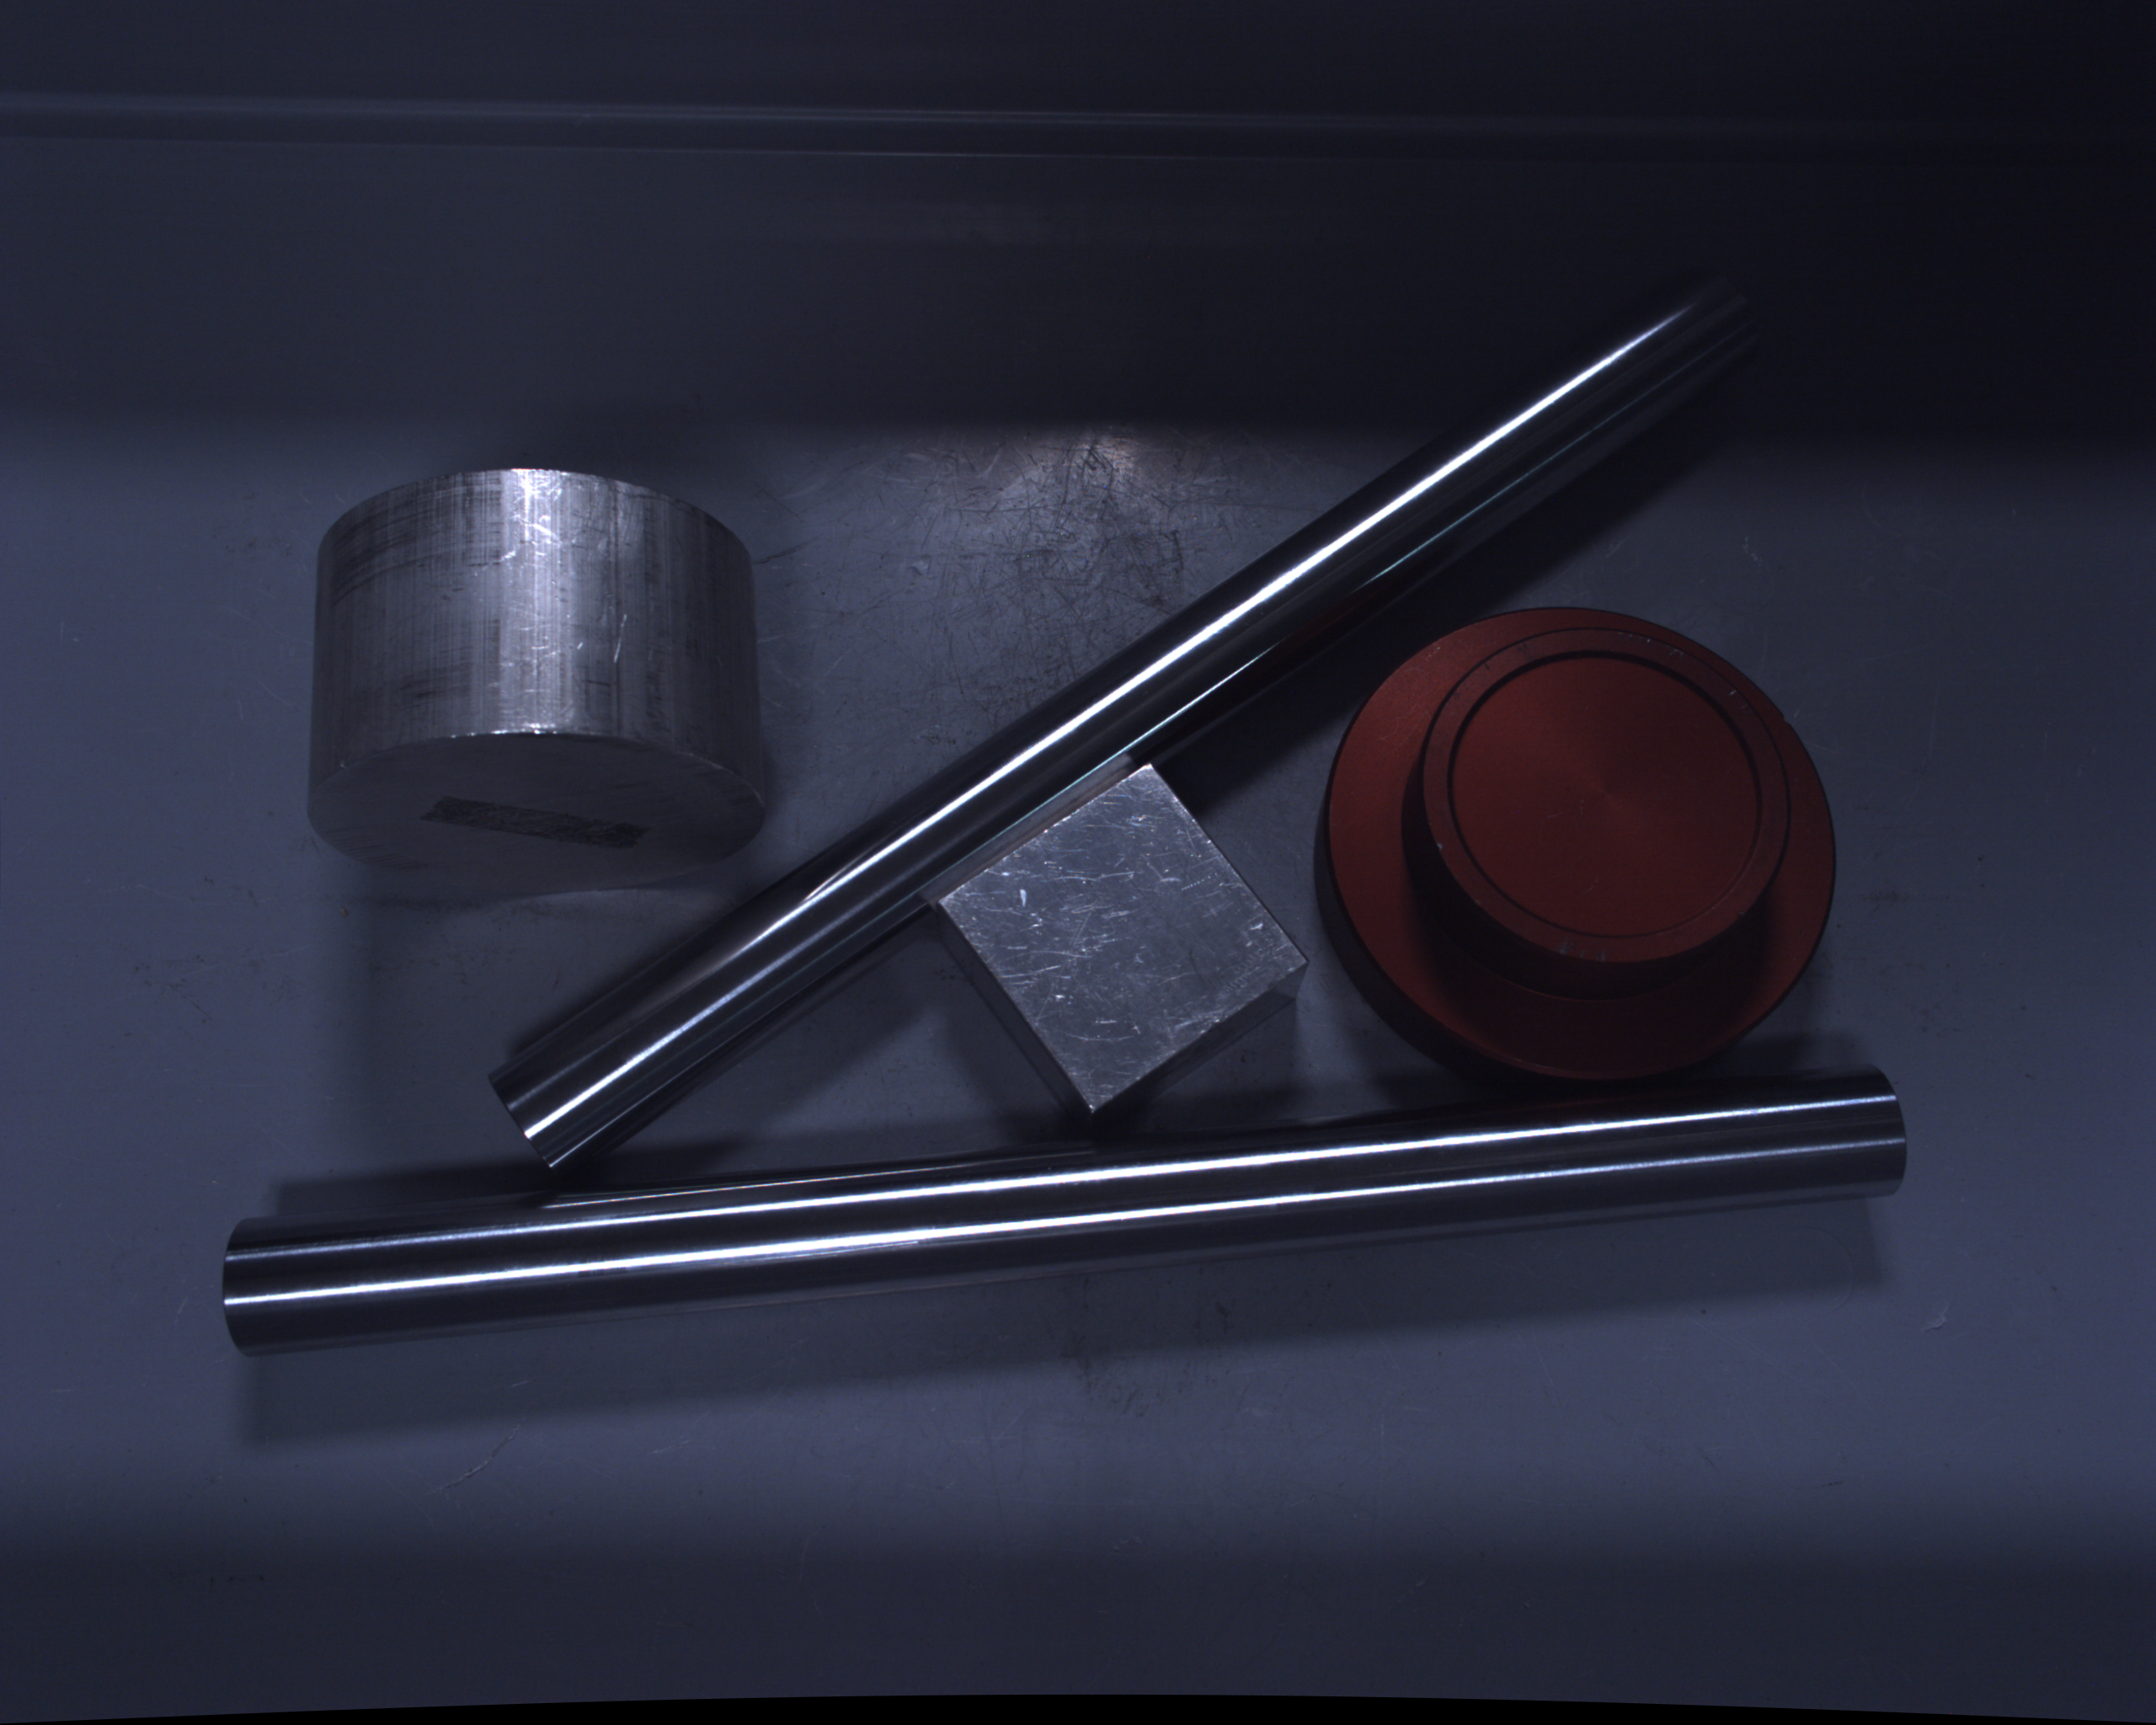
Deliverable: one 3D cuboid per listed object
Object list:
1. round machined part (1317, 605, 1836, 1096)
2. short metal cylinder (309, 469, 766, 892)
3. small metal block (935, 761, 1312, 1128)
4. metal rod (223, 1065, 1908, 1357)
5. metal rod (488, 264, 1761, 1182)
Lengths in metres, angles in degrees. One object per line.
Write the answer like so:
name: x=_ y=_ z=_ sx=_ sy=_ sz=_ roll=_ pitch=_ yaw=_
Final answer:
round machined part: x=0.097 y=-0.006 z=0.401 sx=0.099 sy=0.042 sz=0.098 roll=0 pitch=70 yaw=-1
short metal cylinder: x=-0.100 y=-0.031 z=0.390 sx=0.081 sy=0.080 sz=0.050 roll=-5 pitch=70 yaw=-2
small metal block: x=0.008 y=0.017 z=0.401 sx=0.050 sy=0.025 sz=0.050 roll=-34 pitch=74 yaw=-12
metal rod: x=0.000 y=0.064 z=0.385 sx=0.302 sy=0.025 sz=0.025 roll=-5 pitch=70 yaw=-3
metal rod: x=0.018 y=-0.035 z=0.421 sx=0.301 sy=0.025 sz=0.025 roll=-35 pitch=74 yaw=-12
